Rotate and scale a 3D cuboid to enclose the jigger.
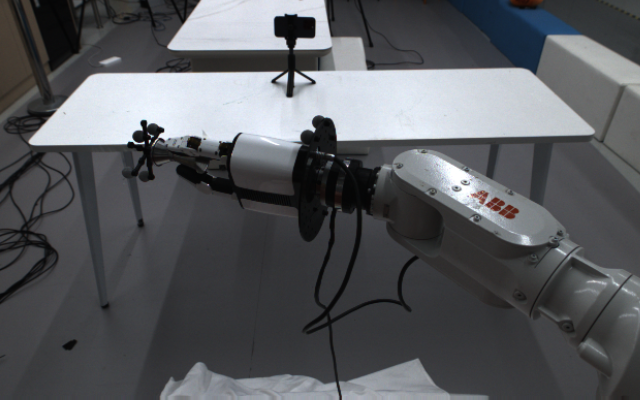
[{"bbox_3d":[-0.187,-0.065,0.666,0.071,0.043,0.043,8,35,13],"label":"jigger"}]
